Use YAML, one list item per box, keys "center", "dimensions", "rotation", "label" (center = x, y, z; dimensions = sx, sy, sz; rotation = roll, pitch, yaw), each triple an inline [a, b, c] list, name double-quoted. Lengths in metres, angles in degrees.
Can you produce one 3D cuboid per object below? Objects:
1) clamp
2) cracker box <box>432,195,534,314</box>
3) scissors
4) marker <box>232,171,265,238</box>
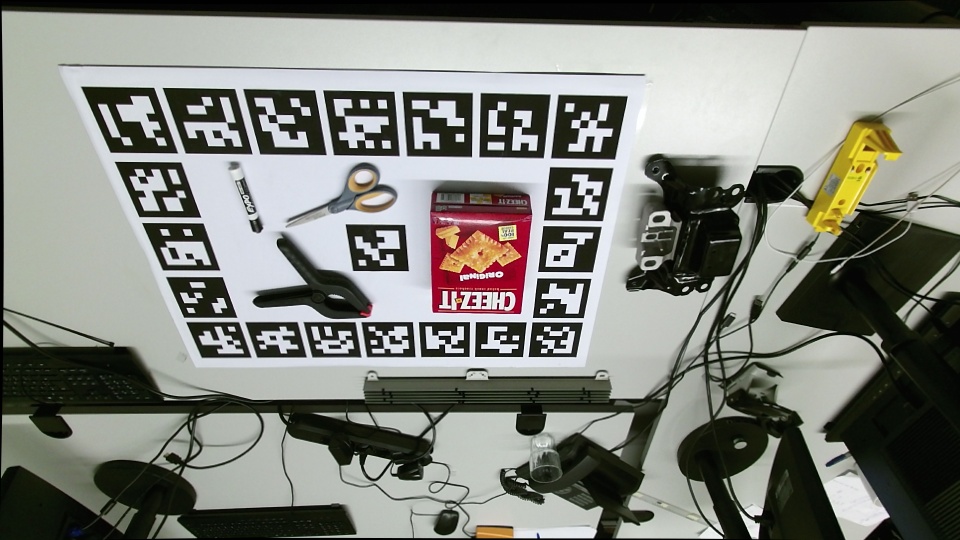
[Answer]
- center: [-0.287, 0.046, 0.998]
  dimensions: [0.203, 0.036, 0.165]
  rotation: [25, 124, -19]
  label: "clamp"
- center: [0.000, -0.021, 0.921]
  dimensions: [0.165, 0.071, 0.213]
  rotation: [1, 127, -3]
  label: "cracker box"
- center: [-0.232, -0.100, 0.882]
  dimensions: [0.203, 0.016, 0.088]
  rotation: [-22, 126, 17]
  label: "scissors"
- center: [-0.375, -0.103, 0.872]
  dimensions: [0.020, 0.019, 0.121]
  rotation: [-3, 128, 0]
  label: "marker"
